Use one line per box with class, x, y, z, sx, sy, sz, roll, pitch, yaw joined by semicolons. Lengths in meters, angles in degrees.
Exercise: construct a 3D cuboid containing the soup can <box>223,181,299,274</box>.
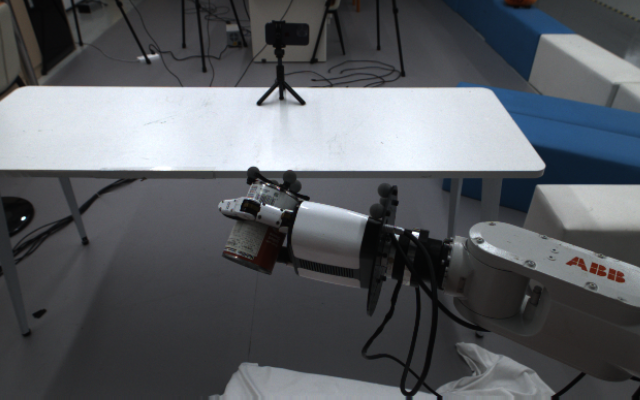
soup can;-0.075;0.034;0.614;0.067;0.067;0.101;16;75;19
